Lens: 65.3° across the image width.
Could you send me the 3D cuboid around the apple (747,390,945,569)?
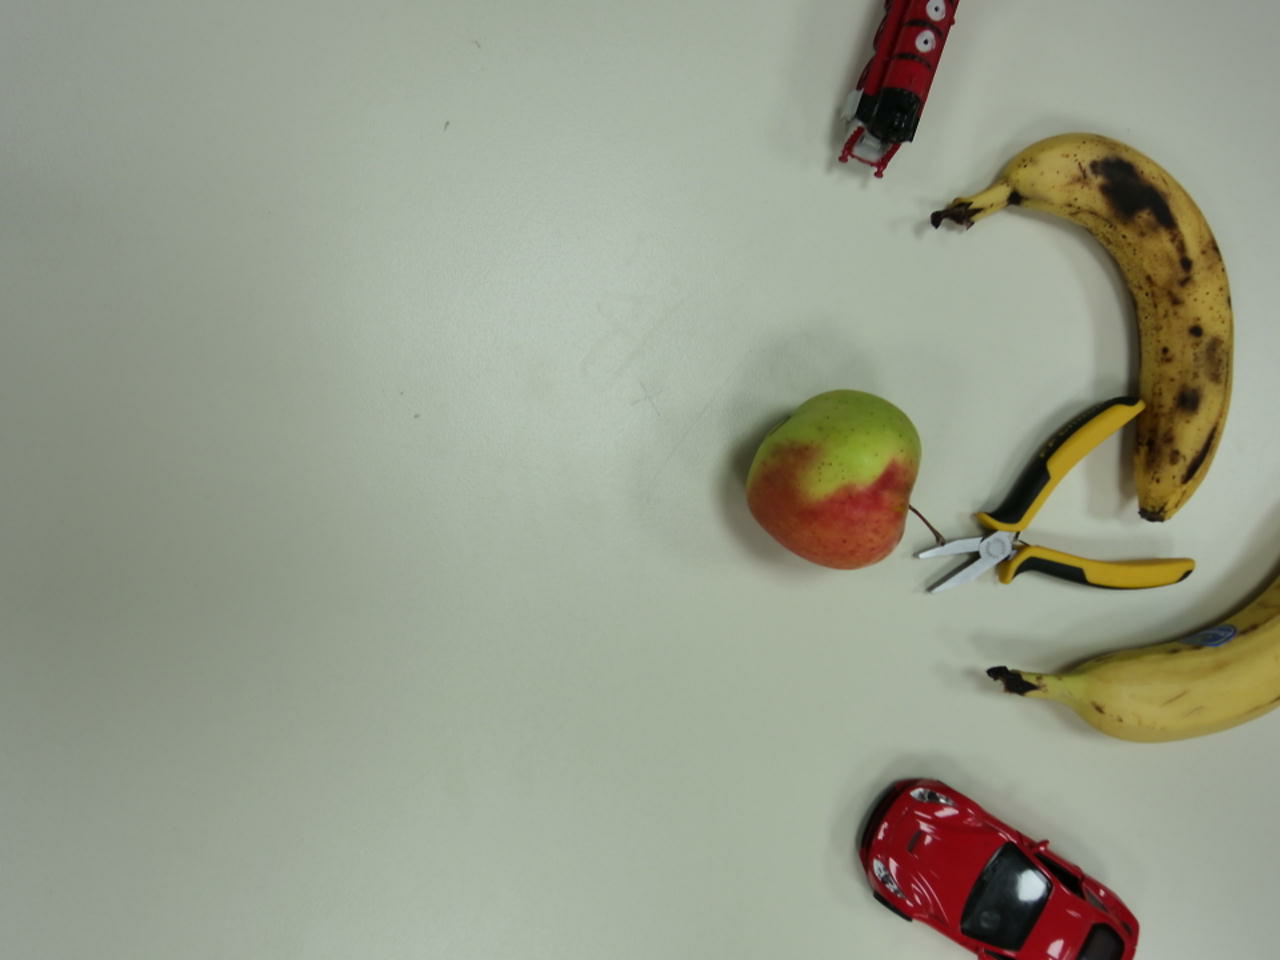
[{"bbox_3d":[0.083,0.000,0.420,0.075,0.074,0.075,-10,92,-12],"label":"apple"}]
